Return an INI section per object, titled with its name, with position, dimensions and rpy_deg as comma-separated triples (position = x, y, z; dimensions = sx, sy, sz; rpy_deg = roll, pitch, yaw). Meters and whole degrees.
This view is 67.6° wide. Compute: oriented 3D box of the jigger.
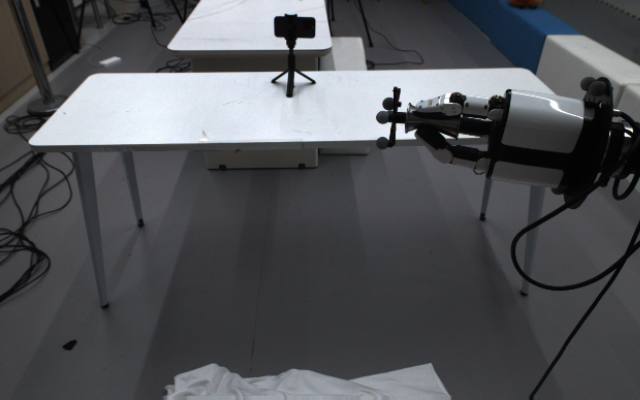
[jigger]
position = 0.155, -0.110, 0.634
dimensions = 0.071, 0.043, 0.043
rpy_deg = 8, 35, 14
